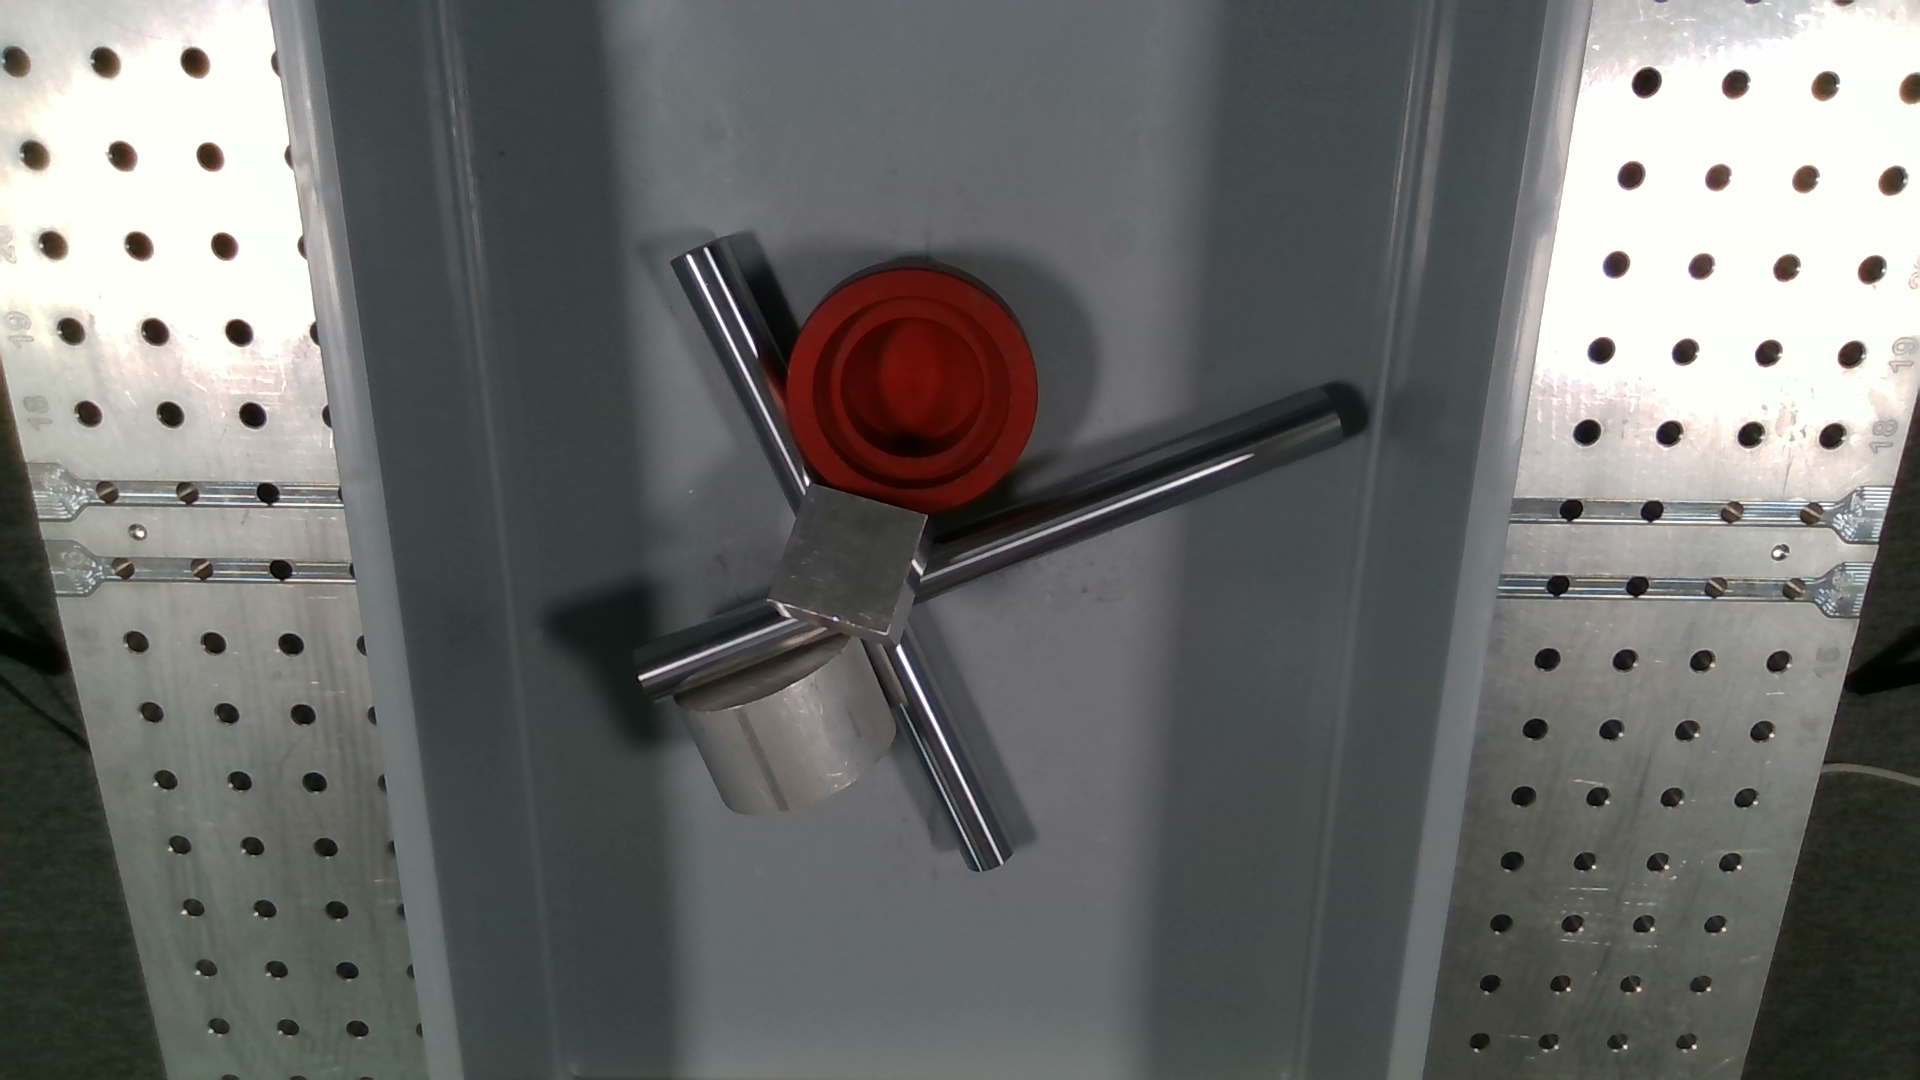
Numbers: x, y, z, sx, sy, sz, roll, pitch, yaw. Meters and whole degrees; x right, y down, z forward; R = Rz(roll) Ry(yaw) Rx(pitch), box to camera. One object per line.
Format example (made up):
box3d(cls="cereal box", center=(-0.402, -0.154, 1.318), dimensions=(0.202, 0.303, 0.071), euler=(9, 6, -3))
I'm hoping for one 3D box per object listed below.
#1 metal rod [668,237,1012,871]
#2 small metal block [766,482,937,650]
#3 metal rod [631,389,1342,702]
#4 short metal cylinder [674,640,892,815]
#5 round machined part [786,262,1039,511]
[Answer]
box3d(cls="metal rod", center=(-0.045, 0.015, 0.589), dimensions=(0.025, 0.025, 0.301), euler=(-22, 109, 8))
box3d(cls="small metal block", center=(-0.042, 0.010, 0.544), dimensions=(0.050, 0.025, 0.050), euler=(16, 76, 11))
box3d(cls="metal rod", center=(0.011, 0.003, 0.565), dimensions=(0.300, 0.025, 0.025), euler=(-21, 109, 0))
box3d(cls="short metal cylinder", center=(-0.073, 0.071, 0.581), dimensions=(0.080, 0.080, 0.050), euler=(-19, 109, 7))
box3d(cls="round machined part", center=(-0.019, -0.064, 0.551), dimensions=(0.098, 0.042, 0.098), euler=(0, 110, 0))
